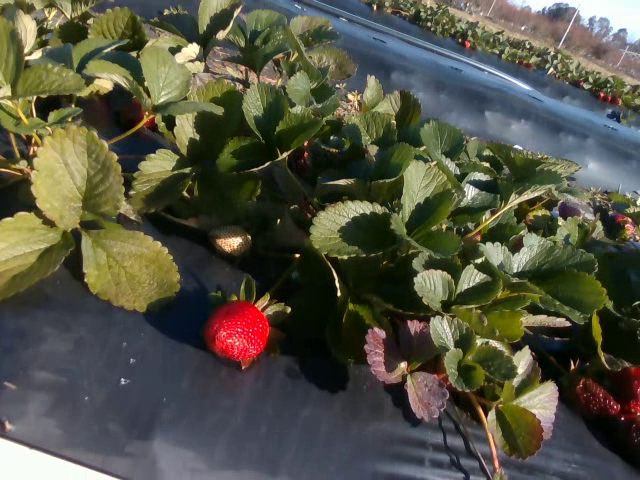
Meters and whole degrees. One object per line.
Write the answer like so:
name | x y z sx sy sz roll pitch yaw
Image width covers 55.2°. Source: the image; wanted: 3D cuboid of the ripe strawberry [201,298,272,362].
ripe strawberry | -0.053 0.057 0.358 0.043 0.043 0.050 -41 -13 12
